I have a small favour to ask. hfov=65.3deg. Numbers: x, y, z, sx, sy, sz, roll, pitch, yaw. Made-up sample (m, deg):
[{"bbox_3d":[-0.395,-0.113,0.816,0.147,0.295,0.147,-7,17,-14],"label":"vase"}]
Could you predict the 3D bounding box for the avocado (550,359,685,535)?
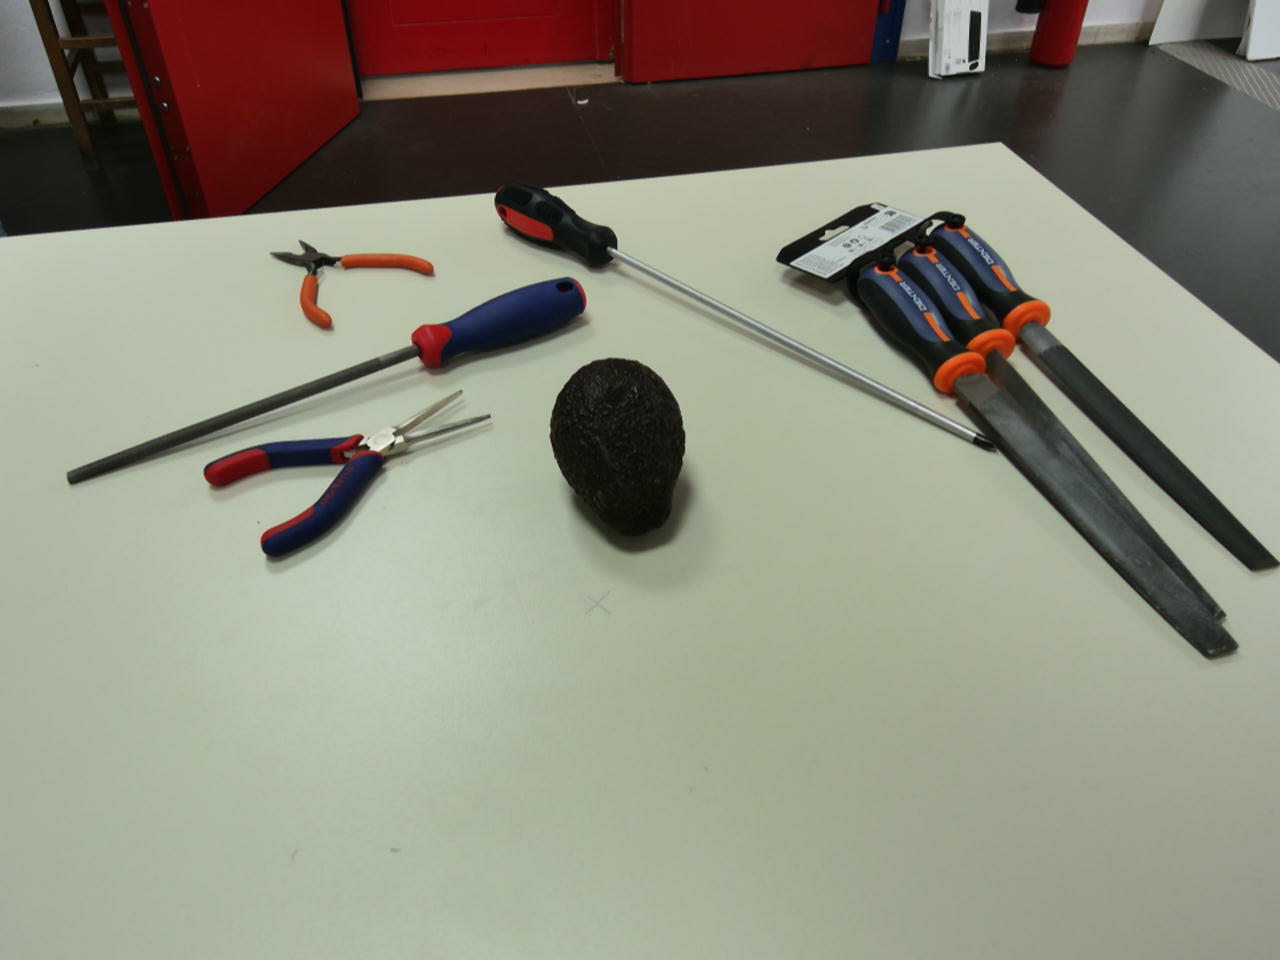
[{"bbox_3d":[-0.012,-0.021,0.508,0.070,0.069,0.090,7,39,9],"label":"avocado"}]
